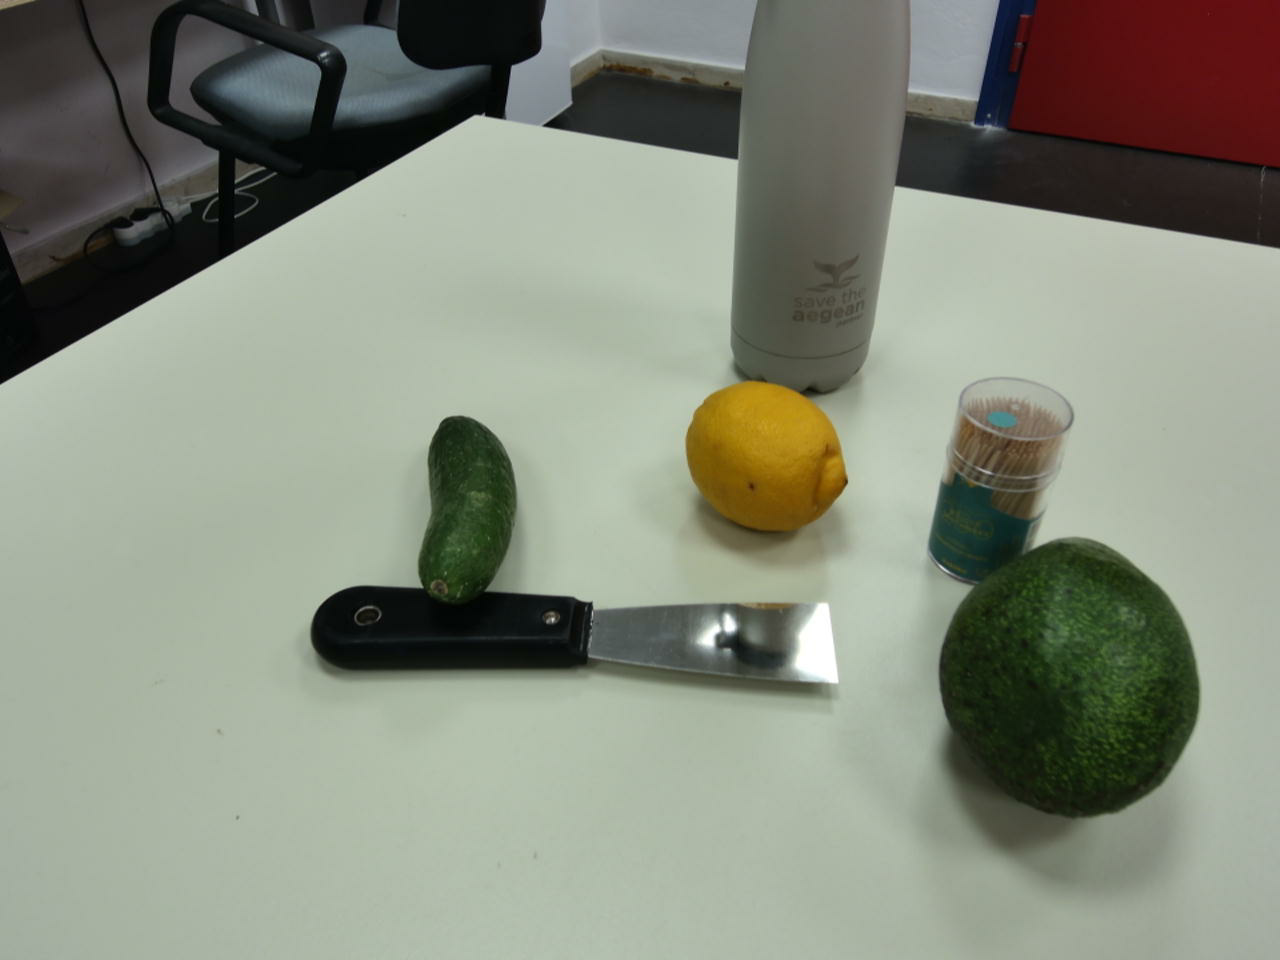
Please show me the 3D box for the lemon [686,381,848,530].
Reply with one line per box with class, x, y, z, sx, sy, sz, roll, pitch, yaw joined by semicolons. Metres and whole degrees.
lemon;0.052;-0.010;0.417;0.061;0.059;0.067;-13;39;-16
